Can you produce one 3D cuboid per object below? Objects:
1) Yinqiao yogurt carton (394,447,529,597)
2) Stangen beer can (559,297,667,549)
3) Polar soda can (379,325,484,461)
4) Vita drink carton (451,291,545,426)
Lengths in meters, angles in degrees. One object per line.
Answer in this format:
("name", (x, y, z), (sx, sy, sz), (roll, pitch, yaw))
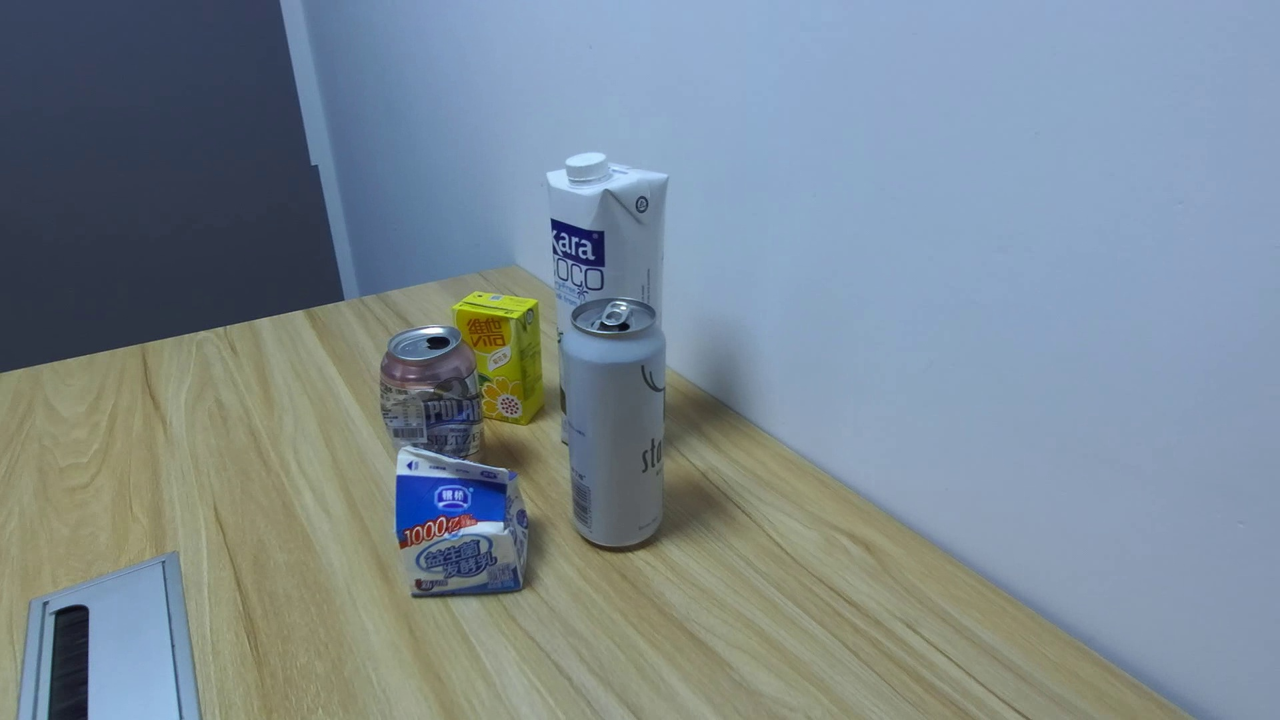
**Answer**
("Yinqiao yogurt carton", (-0.120, 0.096, 0.468), (0.083, 0.093, 0.077), (-2, 27, -4))
("Stangen beer can", (-0.016, 0.045, 0.480), (0.067, 0.171, 0.067), (0, 29, 0))
("Polar soda can", (-0.157, 0.039, 0.552), (0.074, 0.122, 0.067), (15, 32, 29))
("Vita drink carton", (-0.125, -0.002, 0.636), (0.066, 0.109, 0.043), (10, 30, 16))
